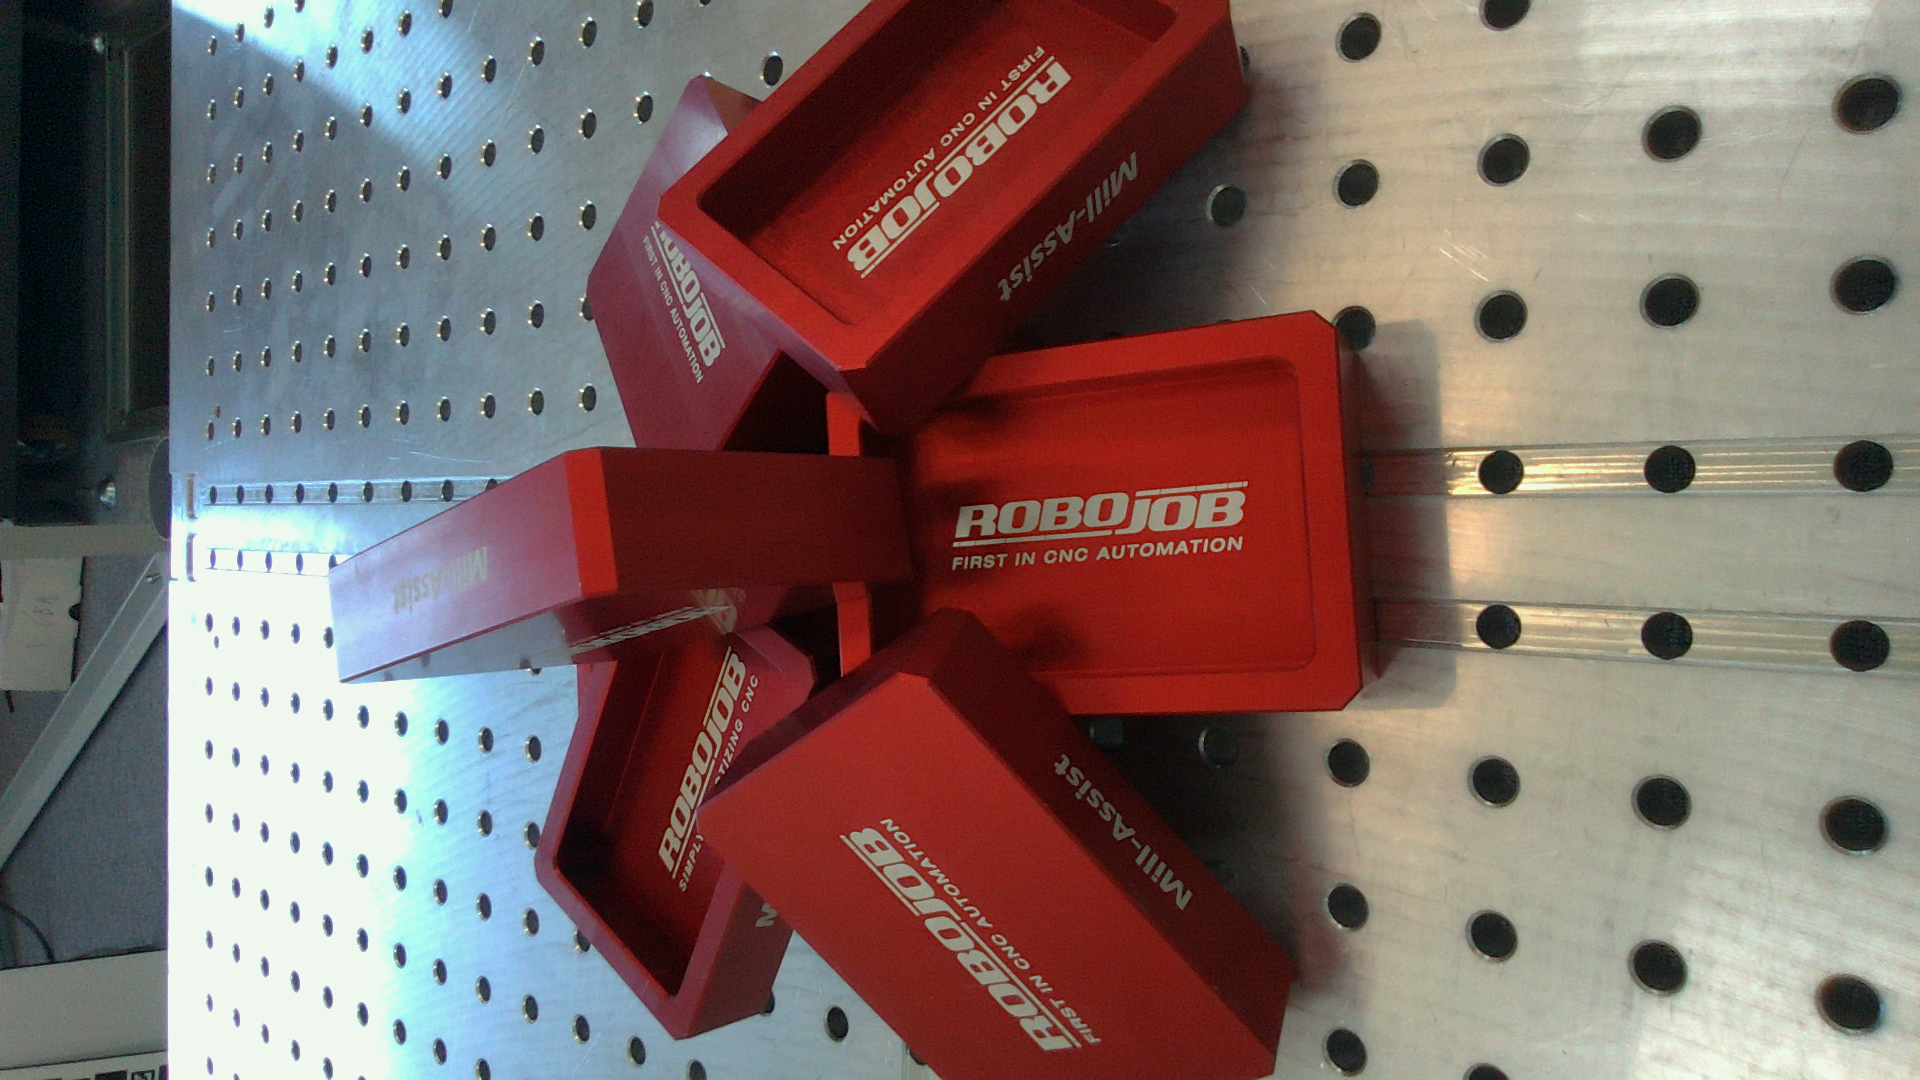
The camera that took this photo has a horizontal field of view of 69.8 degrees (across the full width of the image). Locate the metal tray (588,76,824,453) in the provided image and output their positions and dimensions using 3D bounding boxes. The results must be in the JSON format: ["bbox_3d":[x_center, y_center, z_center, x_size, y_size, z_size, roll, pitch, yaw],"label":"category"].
[{"bbox_3d":[-0.076,-0.075,0.437,0.090,0.030,0.130,-53,43,27],"label":"metal tray"}]

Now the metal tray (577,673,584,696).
[{"bbox_3d":[-0.092,0.055,0.473,0.090,0.030,0.130,-6,86,39],"label":"metal tray"}]

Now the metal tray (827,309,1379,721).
[{"bbox_3d":[0.033,-0.002,0.343,0.130,0.030,0.090,-5,87,23],"label":"metal tray"}]

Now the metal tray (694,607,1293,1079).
[{"bbox_3d":[0.008,0.089,0.344,0.130,0.030,0.090,48,125,-9],"label":"metal tray"}]

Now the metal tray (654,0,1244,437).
[{"bbox_3d":[-0.003,-0.099,0.353,0.130,0.030,0.090,-45,57,-7],"label":"metal tray"}]

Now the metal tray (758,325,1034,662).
[{"bbox_3d":[-0.020,0.002,0.411,0.090,0.030,0.130,-6,84,38],"label":"metal tray"}]

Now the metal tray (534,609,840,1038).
[{"bbox_3d":[-0.080,0.072,0.422,0.090,0.030,0.130,33,111,35],"label":"metal tray"}]

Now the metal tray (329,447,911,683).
[{"bbox_3d":[-0.087,0.009,0.344,0.129,0.090,0.030,-17,79,43],"label":"metal tray"}]
